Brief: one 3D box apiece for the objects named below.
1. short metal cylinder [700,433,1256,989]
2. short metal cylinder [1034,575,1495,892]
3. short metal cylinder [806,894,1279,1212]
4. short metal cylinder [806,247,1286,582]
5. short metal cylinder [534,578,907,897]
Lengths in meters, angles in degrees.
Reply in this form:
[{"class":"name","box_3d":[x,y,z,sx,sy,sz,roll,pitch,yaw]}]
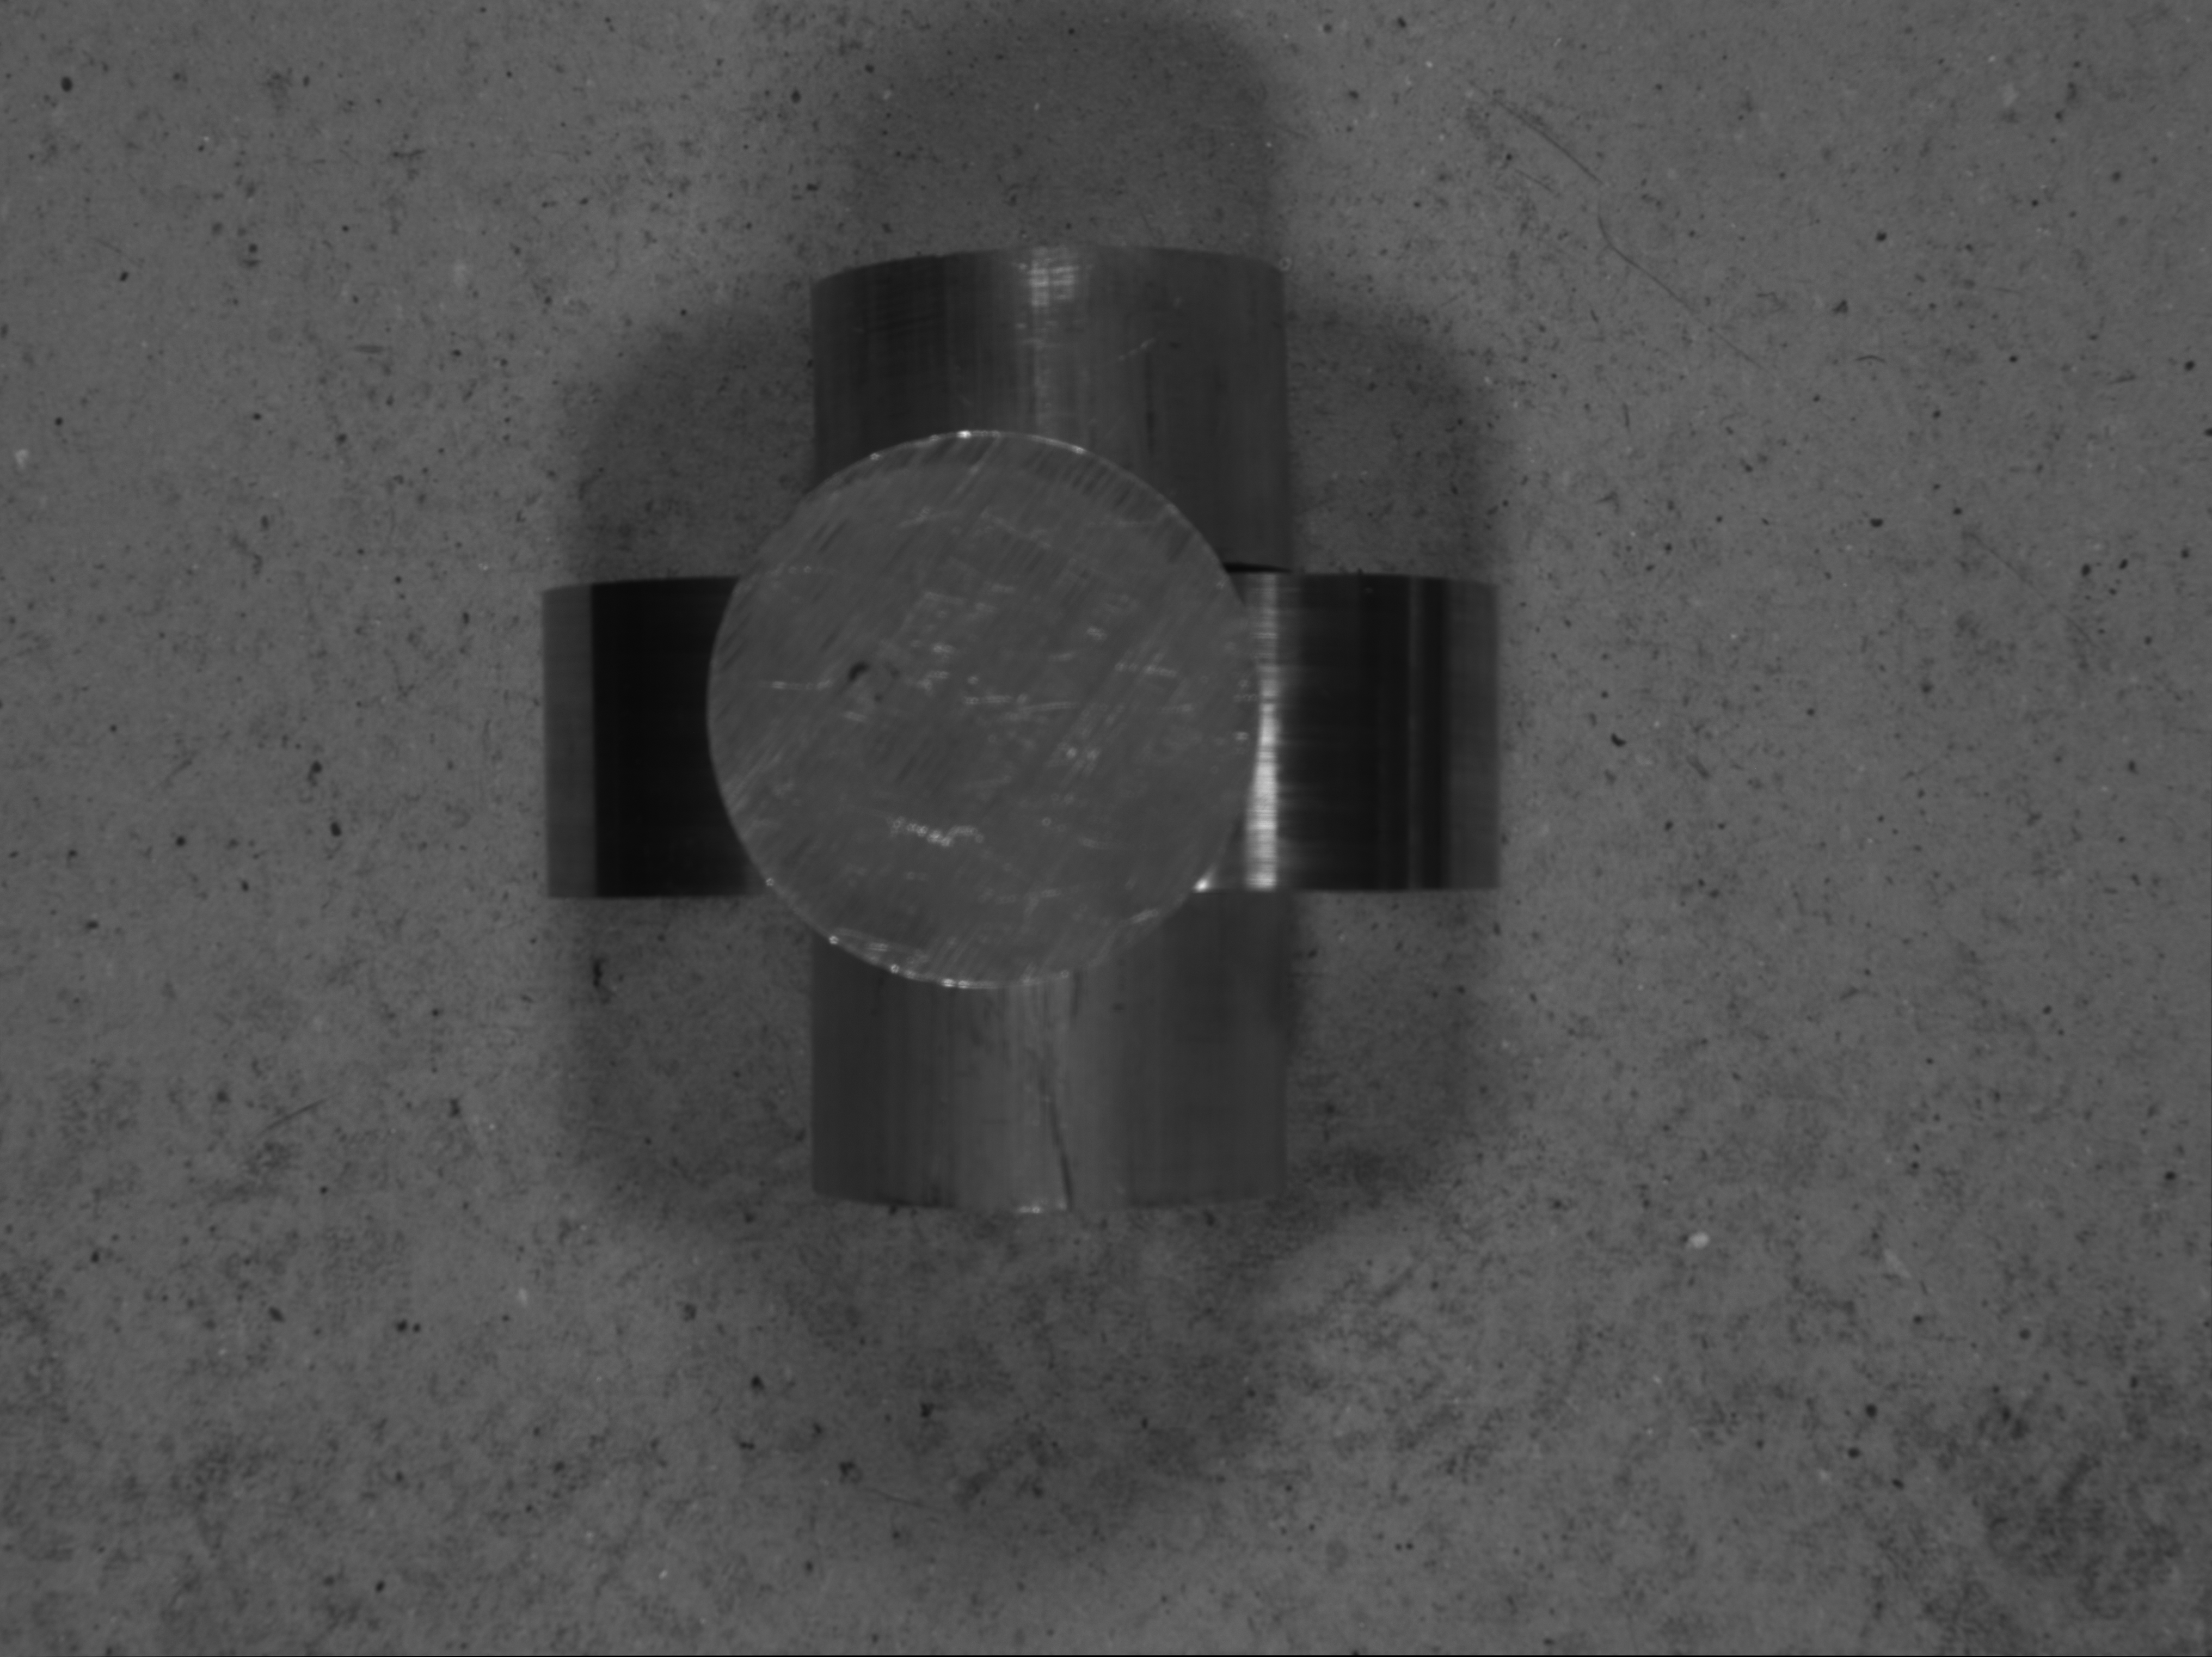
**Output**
[{"class":"short metal cylinder","box_3d":[-0.018,-0.017,0.552,0.080,0.050,0.080,0,90,0]},{"class":"short metal cylinder","box_3d":[0.025,-0.015,0.618,0.080,0.080,0.050,0,90,0]},{"class":"short metal cylinder","box_3d":[-0.011,0.036,0.618,0.080,0.080,0.050,0,90,0]},{"class":"short metal cylinder","box_3d":[-0.010,-0.067,0.618,0.080,0.080,0.050,-2,90,0]},{"class":"short metal cylinder","box_3d":[-0.055,-0.014,0.617,0.080,0.080,0.050,-1,90,0]}]
